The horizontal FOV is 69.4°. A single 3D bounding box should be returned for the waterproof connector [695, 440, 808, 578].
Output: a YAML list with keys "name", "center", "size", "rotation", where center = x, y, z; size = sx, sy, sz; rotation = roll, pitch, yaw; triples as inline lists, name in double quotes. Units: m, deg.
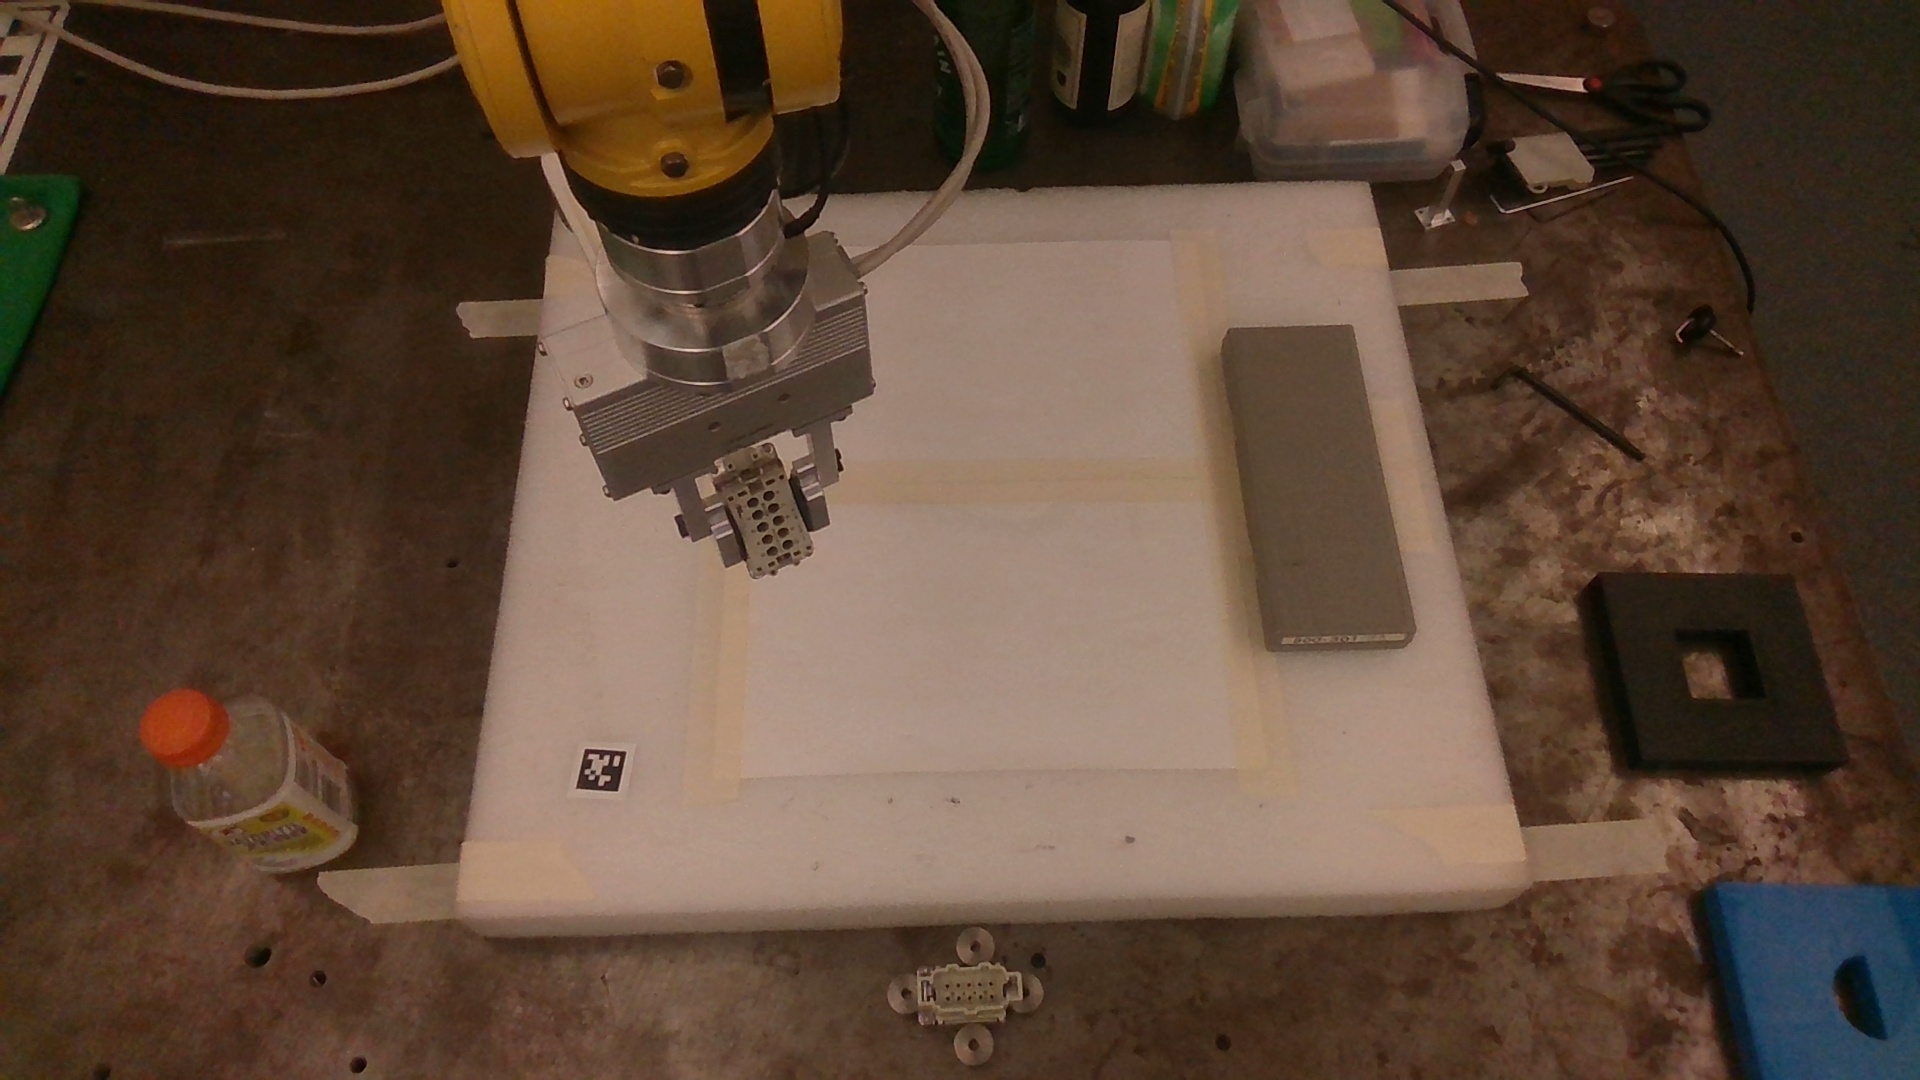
- name: "waterproof connector"
  center: [-0.100, -0.015, 0.674]
  size: [0.036, 0.069, 0.039]
  rotation: [-22, 28, -6]
